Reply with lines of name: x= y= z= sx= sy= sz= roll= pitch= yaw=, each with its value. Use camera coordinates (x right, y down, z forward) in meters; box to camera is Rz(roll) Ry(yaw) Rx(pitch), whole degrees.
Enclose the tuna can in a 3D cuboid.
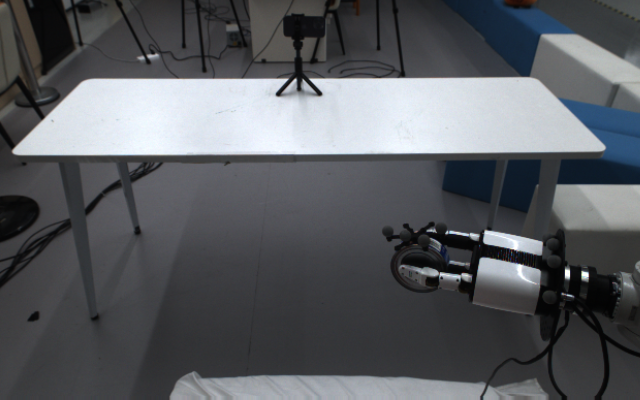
tuna can: x=0.155 y=0.096 z=0.736 sx=0.085 sy=0.085 sz=0.034 roll=13 pitch=28 yaw=15
